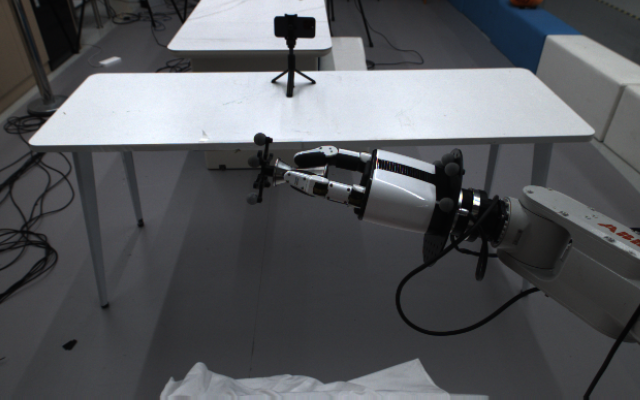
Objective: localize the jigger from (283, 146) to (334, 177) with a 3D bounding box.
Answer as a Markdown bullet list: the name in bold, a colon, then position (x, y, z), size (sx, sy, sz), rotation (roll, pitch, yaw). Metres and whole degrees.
- **jigger**: position (-0.019, -0.035, 0.649), size (0.071, 0.043, 0.043), rotation (9, 35, 4)
